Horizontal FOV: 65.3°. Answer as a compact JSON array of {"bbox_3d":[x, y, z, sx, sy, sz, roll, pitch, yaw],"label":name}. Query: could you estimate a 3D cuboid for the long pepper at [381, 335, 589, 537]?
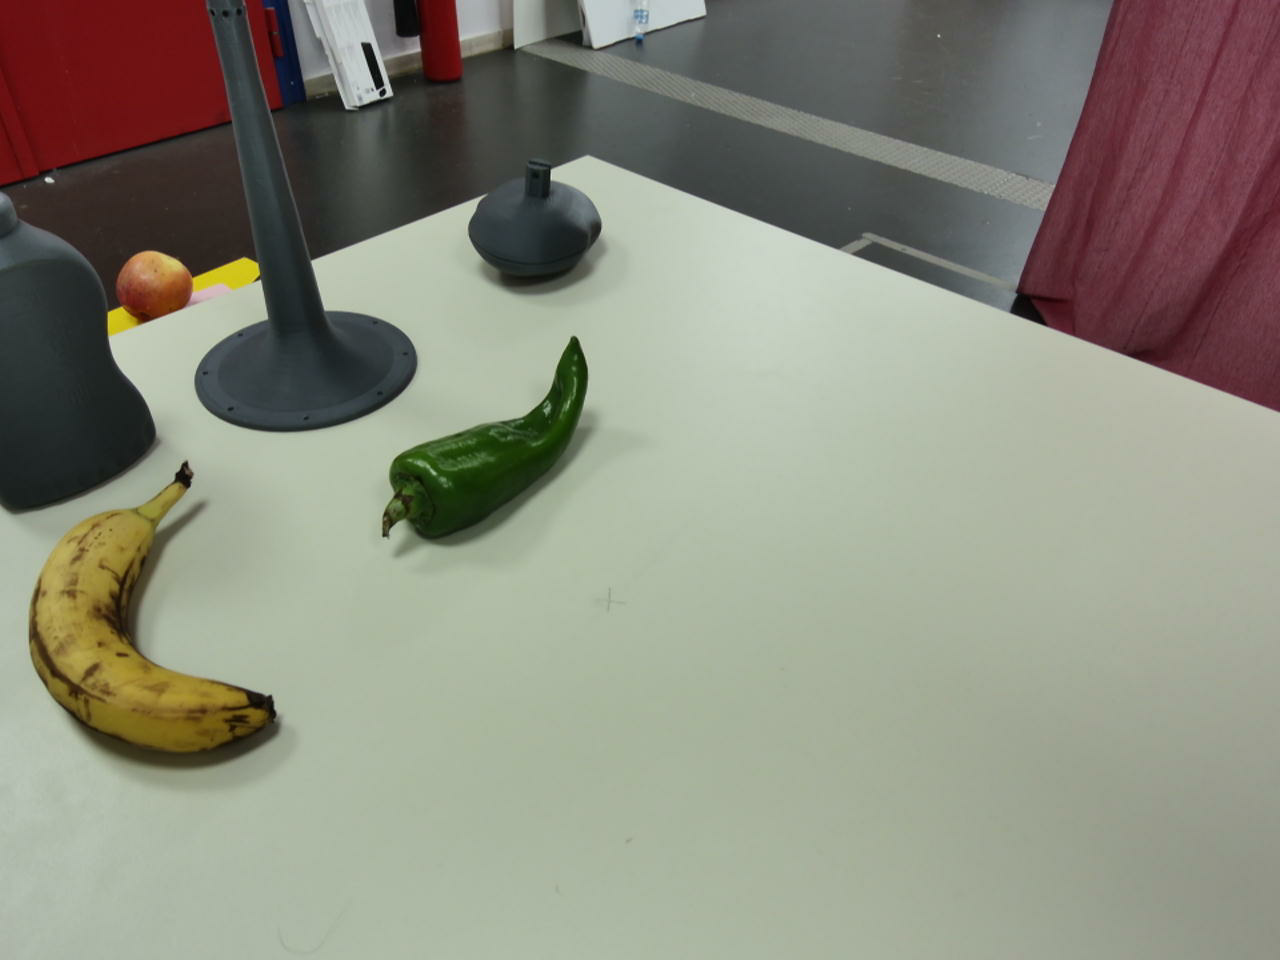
[{"bbox_3d":[-0.085,-0.023,0.587,0.058,0.065,0.175,27,45,30],"label":"long pepper"}]
